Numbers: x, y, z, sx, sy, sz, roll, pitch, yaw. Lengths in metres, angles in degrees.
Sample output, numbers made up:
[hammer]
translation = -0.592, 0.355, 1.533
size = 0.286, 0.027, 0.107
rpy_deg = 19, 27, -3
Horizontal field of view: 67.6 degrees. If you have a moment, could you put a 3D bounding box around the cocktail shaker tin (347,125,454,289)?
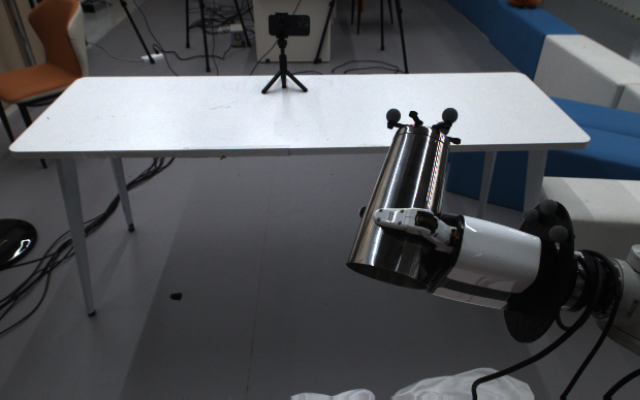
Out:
[cocktail shaker tin]
translation = 0.097, 0.006, 0.549
size = 0.093, 0.093, 0.170
rpy_deg = 13, 74, 15
